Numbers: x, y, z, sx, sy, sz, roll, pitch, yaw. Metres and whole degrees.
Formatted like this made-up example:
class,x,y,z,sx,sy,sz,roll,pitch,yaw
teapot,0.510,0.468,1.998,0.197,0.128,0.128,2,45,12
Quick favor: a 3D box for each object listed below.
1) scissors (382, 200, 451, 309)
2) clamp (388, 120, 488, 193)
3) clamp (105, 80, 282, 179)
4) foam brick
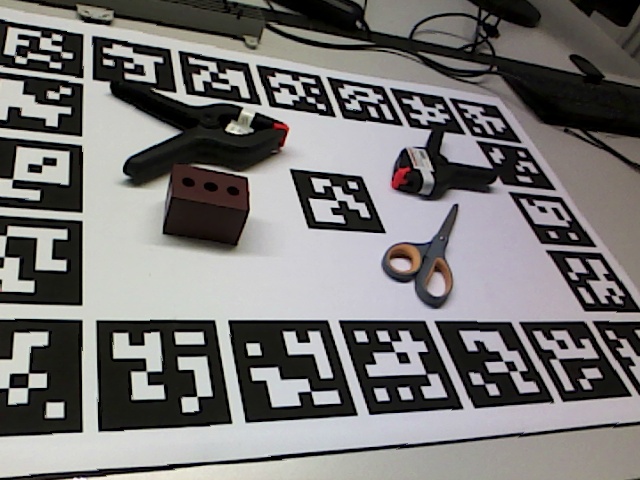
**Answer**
class,x,y,z,sx,sy,sz,roll,pitch,yaw
scissors,0.134,0.001,0.754,0.088,0.016,0.202,36,41,-1
clamp,0.155,-0.108,0.868,0.164,0.036,0.122,-25,70,-40
clamp,-0.141,-0.129,0.737,0.201,0.036,0.166,-1,46,-28
foam brick,-0.120,-0.031,0.642,0.078,0.051,0.053,5,47,-16
